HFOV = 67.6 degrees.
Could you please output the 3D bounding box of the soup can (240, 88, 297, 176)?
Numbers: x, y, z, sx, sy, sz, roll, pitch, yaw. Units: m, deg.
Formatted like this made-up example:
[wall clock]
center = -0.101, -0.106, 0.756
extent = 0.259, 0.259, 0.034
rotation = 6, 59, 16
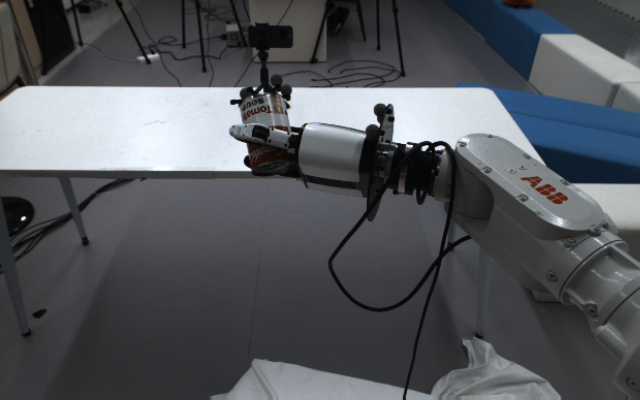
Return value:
[soup can]
center = -0.072, -0.091, 0.688
extent = 0.067, 0.067, 0.101
rotation = -10, 79, -17
